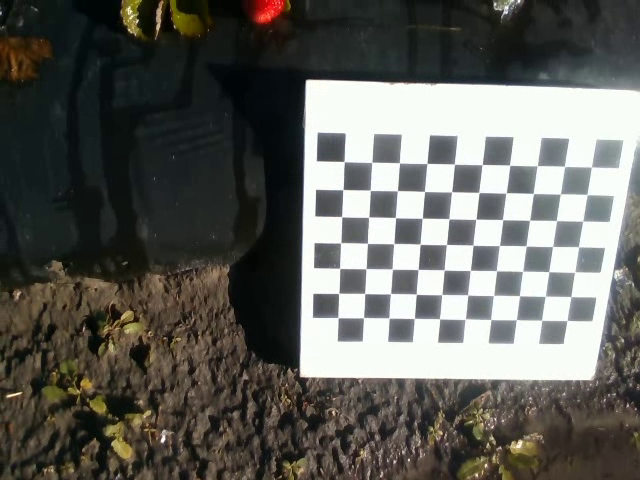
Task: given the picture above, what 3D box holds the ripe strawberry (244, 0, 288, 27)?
[{"bbox_3d":[-0.034,-0.145,0.373,0.039,0.040,0.039,-5,43,10],"label":"ripe strawberry"}]
